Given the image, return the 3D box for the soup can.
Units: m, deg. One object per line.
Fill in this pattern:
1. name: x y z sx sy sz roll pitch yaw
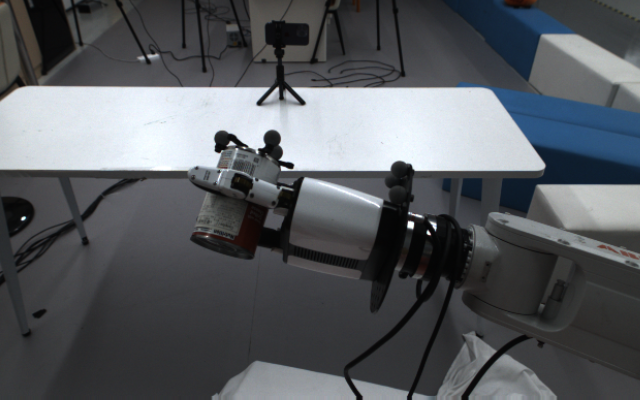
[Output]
1. soup can: -0.084 0.004 0.505 0.067 0.067 0.101 11 72 13
